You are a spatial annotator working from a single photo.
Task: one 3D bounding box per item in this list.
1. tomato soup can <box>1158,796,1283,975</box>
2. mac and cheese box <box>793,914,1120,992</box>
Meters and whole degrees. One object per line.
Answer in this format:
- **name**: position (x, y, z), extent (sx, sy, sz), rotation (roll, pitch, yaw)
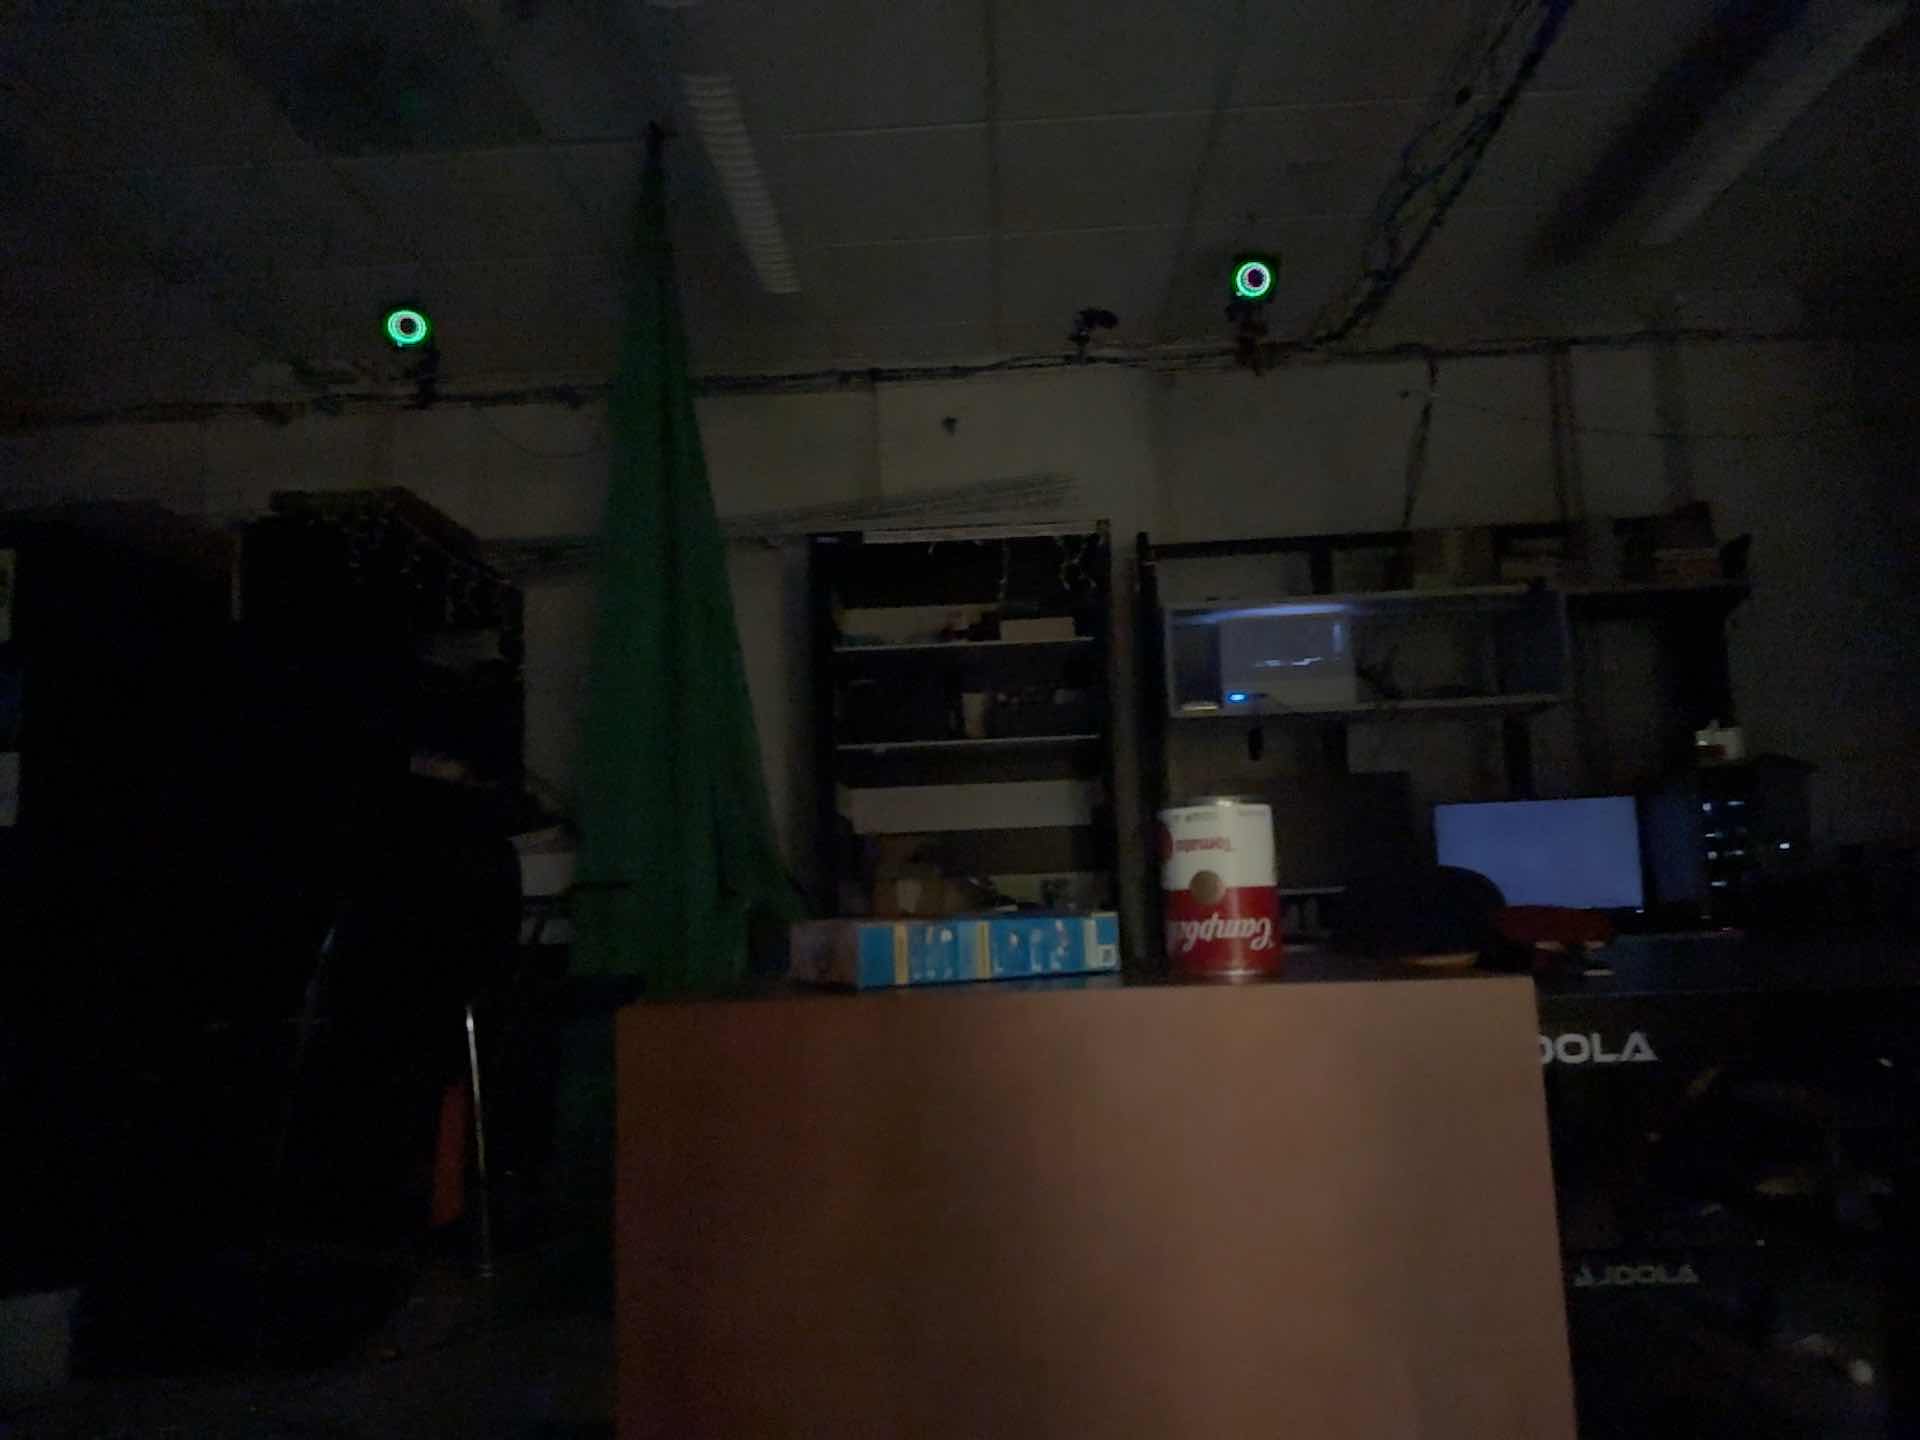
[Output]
- **tomato soup can**: position (0.153, 0.097, 0.796), extent (0.067, 0.102, 0.067), rotation (-2, -6, 0)
- **mac and cheese box**: position (0.000, 0.141, 0.826), extent (0.181, 0.035, 0.088), rotation (3, -7, -33)
